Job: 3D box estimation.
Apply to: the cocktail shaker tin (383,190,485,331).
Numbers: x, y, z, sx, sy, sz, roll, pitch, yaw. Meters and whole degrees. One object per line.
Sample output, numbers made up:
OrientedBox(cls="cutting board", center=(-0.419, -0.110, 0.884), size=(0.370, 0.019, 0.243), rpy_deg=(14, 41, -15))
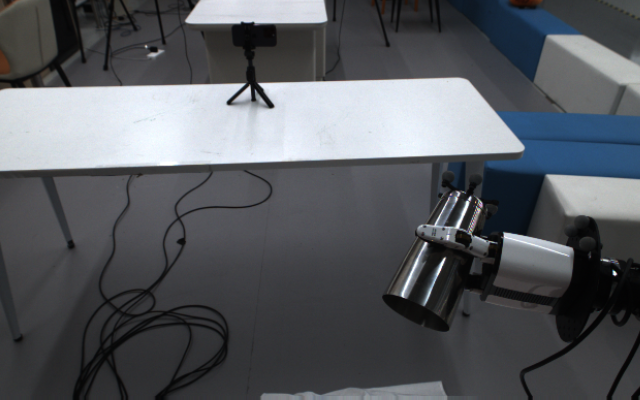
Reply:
OrientedBox(cls="cocktail shaker tin", center=(0.162, 0.070, 0.637), size=(0.093, 0.093, 0.170), rpy_deg=(20, 67, 23))
